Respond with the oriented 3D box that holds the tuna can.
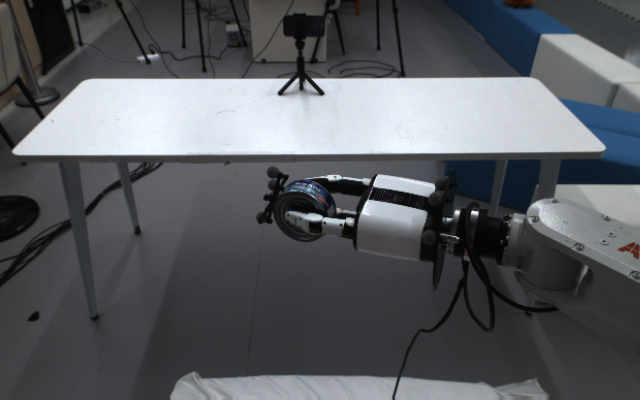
[{"bbox_3d":[-0.020,0.018,0.681,0.085,0.085,0.034,12,30,13],"label":"tuna can"}]
